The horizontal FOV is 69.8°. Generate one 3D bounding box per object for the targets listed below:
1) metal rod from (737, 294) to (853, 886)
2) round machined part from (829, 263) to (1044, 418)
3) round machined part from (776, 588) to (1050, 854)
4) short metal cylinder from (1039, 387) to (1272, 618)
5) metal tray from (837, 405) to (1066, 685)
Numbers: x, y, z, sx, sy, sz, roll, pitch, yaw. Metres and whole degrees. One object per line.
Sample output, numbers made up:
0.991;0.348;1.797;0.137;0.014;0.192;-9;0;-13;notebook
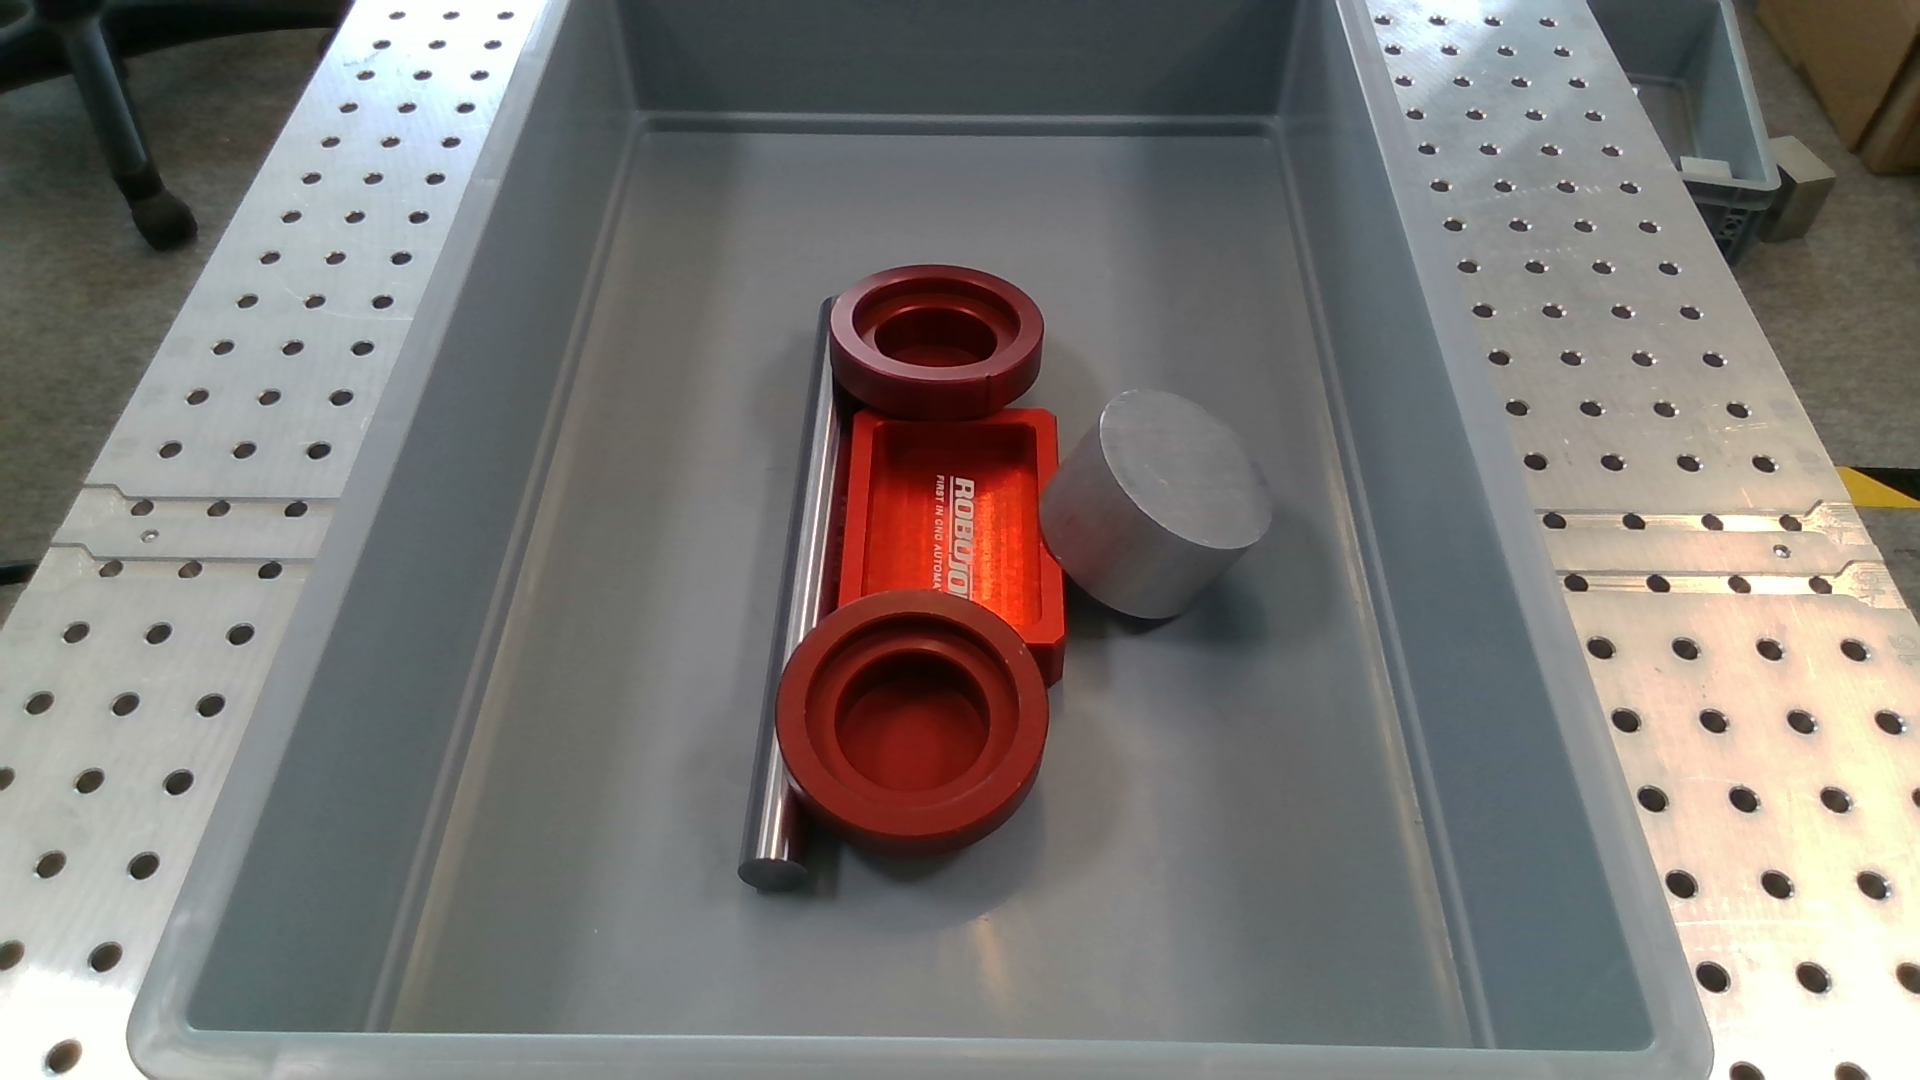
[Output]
-0.062;0.002;0.583;0.025;0.025;0.299;1;50;1;metal rod
-0.011;-0.085;0.639;0.098;0.042;0.098;2;42;-2;round machined part
-0.017;0.070;0.510;0.098;0.042;0.098;1;58;-1;round machined part
0.079;-0.015;0.563;0.080;0.050;0.080;18;47;-20;short metal cylinder
-0.003;-0.001;0.582;0.090;0.030;0.130;0;51;1;metal tray
